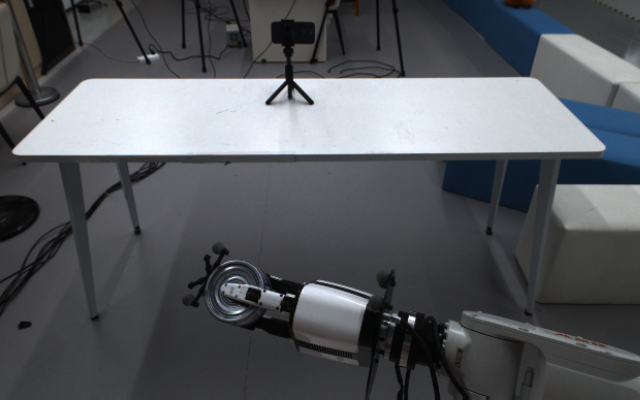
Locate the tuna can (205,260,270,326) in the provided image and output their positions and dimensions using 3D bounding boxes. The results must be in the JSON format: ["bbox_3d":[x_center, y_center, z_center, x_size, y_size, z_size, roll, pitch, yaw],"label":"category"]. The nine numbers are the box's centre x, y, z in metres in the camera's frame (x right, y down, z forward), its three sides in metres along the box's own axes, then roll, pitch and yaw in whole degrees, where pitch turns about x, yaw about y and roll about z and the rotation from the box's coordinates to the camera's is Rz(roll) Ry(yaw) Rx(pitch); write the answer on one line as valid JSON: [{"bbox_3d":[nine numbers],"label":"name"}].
[{"bbox_3d":[-0.106,0.130,0.647,0.085,0.034,0.085,-3,70,9],"label":"tuna can"}]
